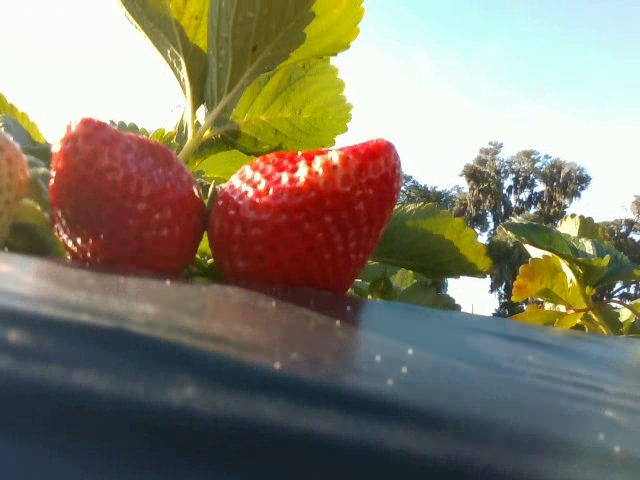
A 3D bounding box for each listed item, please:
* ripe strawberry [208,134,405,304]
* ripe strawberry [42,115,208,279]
[{"bbox_3d":[0.001,-0.008,0.163,0.067,0.052,0.056,-34,-9,38],"label":"ripe strawberry"},{"bbox_3d":[-0.052,-0.013,0.156,0.050,0.044,0.061,24,-19,12],"label":"ripe strawberry"}]
